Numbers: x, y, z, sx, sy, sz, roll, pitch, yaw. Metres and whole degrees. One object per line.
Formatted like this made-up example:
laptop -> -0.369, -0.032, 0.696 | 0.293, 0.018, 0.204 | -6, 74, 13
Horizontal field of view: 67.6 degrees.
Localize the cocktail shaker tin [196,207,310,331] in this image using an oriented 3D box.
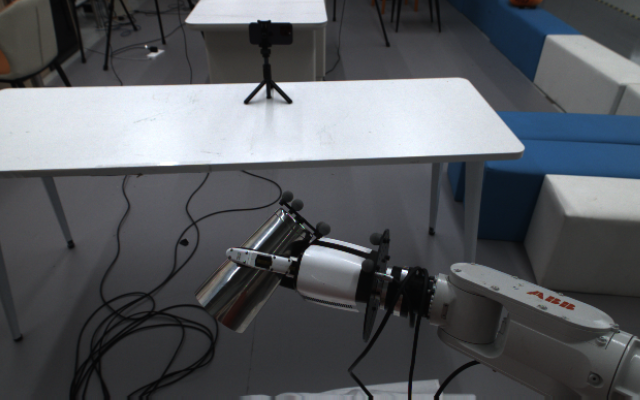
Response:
cocktail shaker tin -> -0.088, 0.093, 0.702 | 0.170, 0.093, 0.093 | -48, 49, -3
